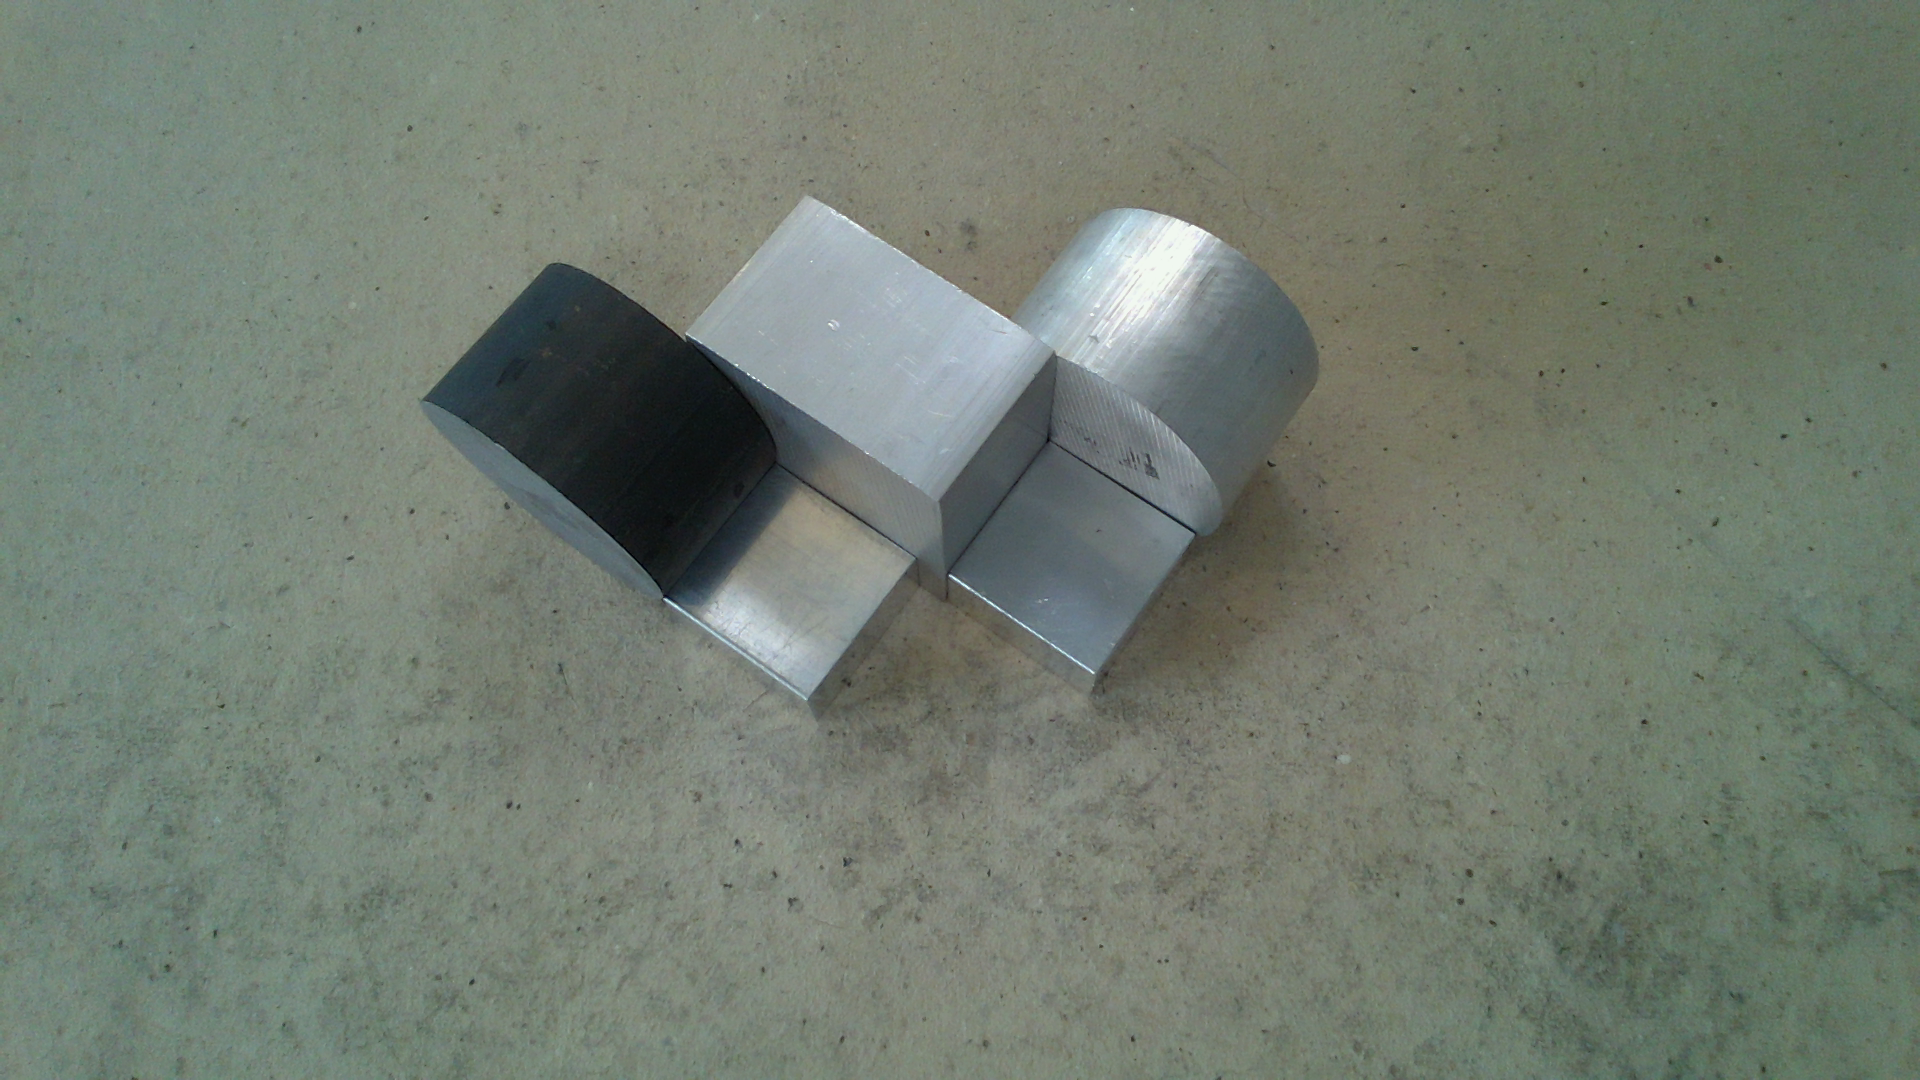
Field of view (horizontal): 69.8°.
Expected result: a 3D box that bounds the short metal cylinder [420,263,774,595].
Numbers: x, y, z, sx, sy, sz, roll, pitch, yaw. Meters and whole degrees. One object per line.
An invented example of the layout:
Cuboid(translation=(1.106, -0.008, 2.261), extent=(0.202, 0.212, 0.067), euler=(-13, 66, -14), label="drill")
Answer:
Cuboid(translation=(-0.098, -0.029, 0.376), extent=(0.080, 0.080, 0.050), euler=(33, 73, 11), label="short metal cylinder")

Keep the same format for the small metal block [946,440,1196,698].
Cuboid(translation=(0.031, 0.008, 0.392), extent=(0.050, 0.025, 0.050), euler=(34, 73, 11), label="small metal block")

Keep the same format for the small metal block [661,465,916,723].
Cuboid(translation=(-0.047, 0.015, 0.390), extent=(0.050, 0.025, 0.050), euler=(34, 73, 11), label="small metal block")

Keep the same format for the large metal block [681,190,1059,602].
Cuboid(translation=(-0.022, -0.036, 0.379), extent=(0.080, 0.080, 0.050), euler=(33, 73, 11), label="large metal block")

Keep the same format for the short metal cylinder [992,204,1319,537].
Cuboid(translation=(0.051, -0.046, 0.382), extent=(0.080, 0.080, 0.050), euler=(34, 74, 11), label="short metal cylinder")
